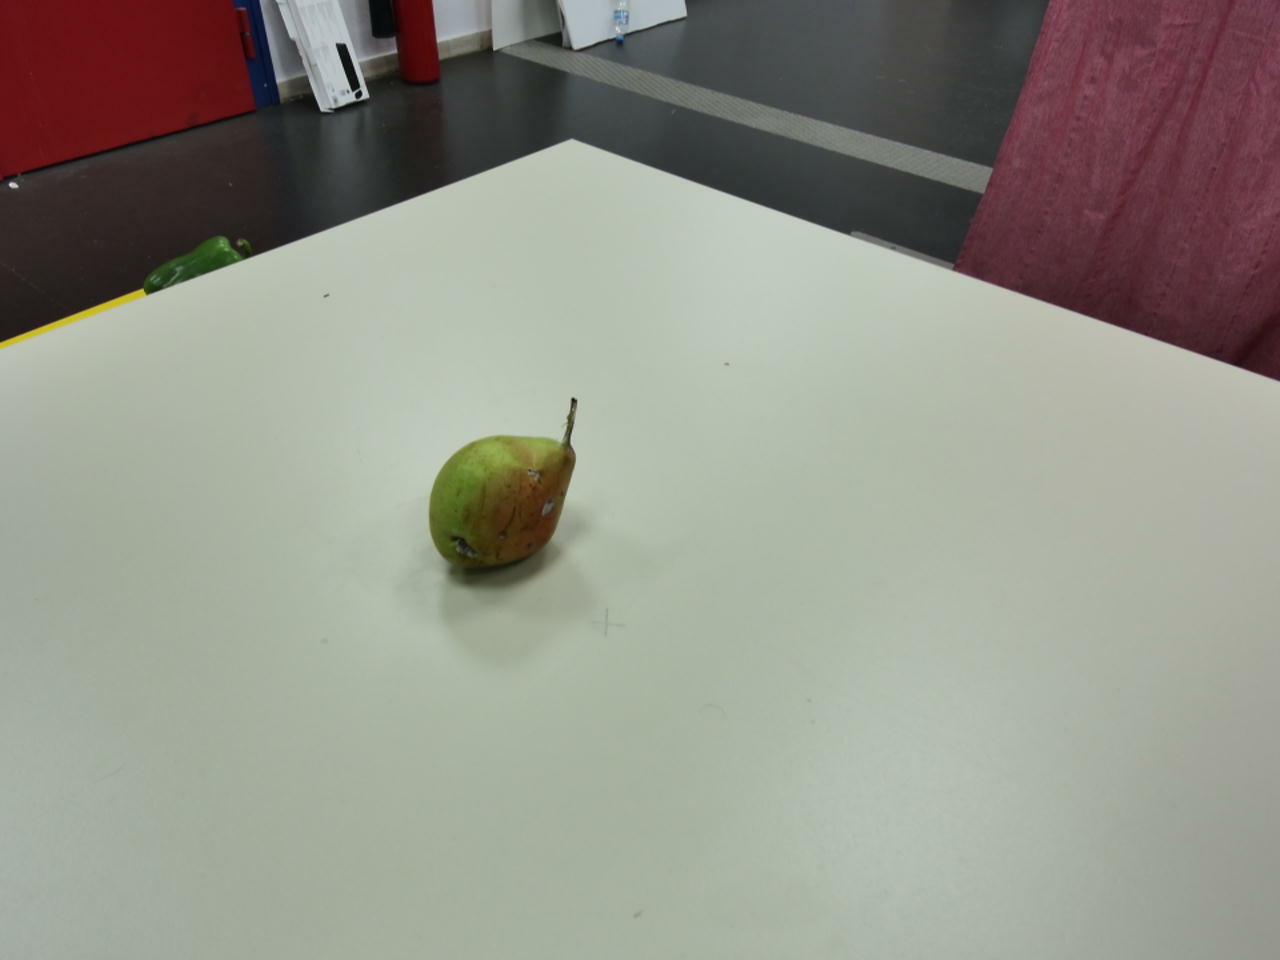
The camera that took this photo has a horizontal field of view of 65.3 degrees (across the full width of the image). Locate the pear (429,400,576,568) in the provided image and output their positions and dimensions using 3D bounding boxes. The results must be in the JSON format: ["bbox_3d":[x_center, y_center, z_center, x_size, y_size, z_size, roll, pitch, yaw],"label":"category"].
[{"bbox_3d":[-0.067,0.007,0.488,0.070,0.069,0.068,1,37,1],"label":"pear"}]
